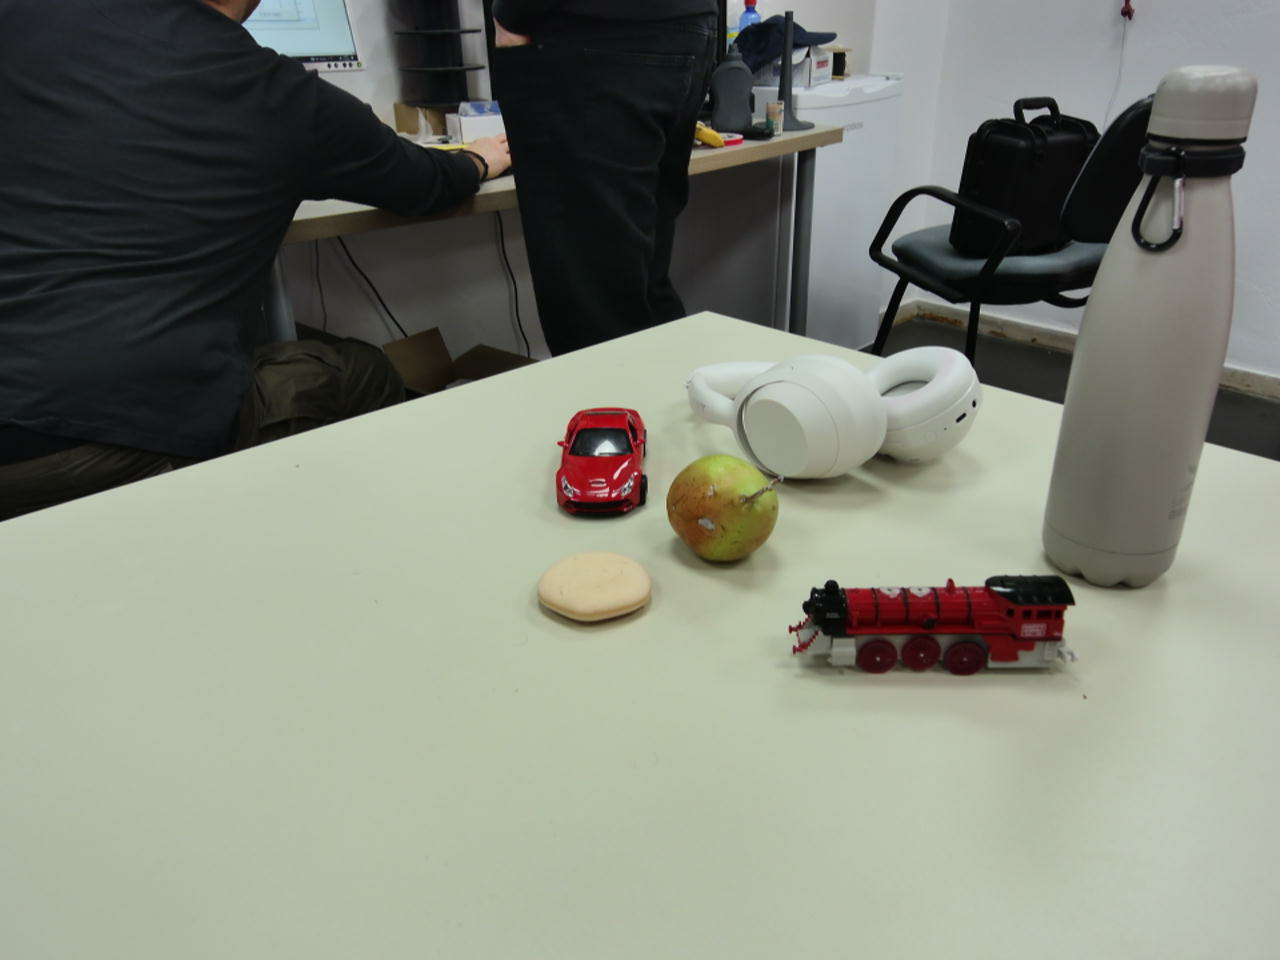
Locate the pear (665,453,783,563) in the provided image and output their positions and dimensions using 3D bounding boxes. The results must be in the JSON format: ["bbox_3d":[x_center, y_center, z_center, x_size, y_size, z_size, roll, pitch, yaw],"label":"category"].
[{"bbox_3d":[0.049,0.015,0.600,0.068,0.069,0.070,5,25,8],"label":"pear"}]
